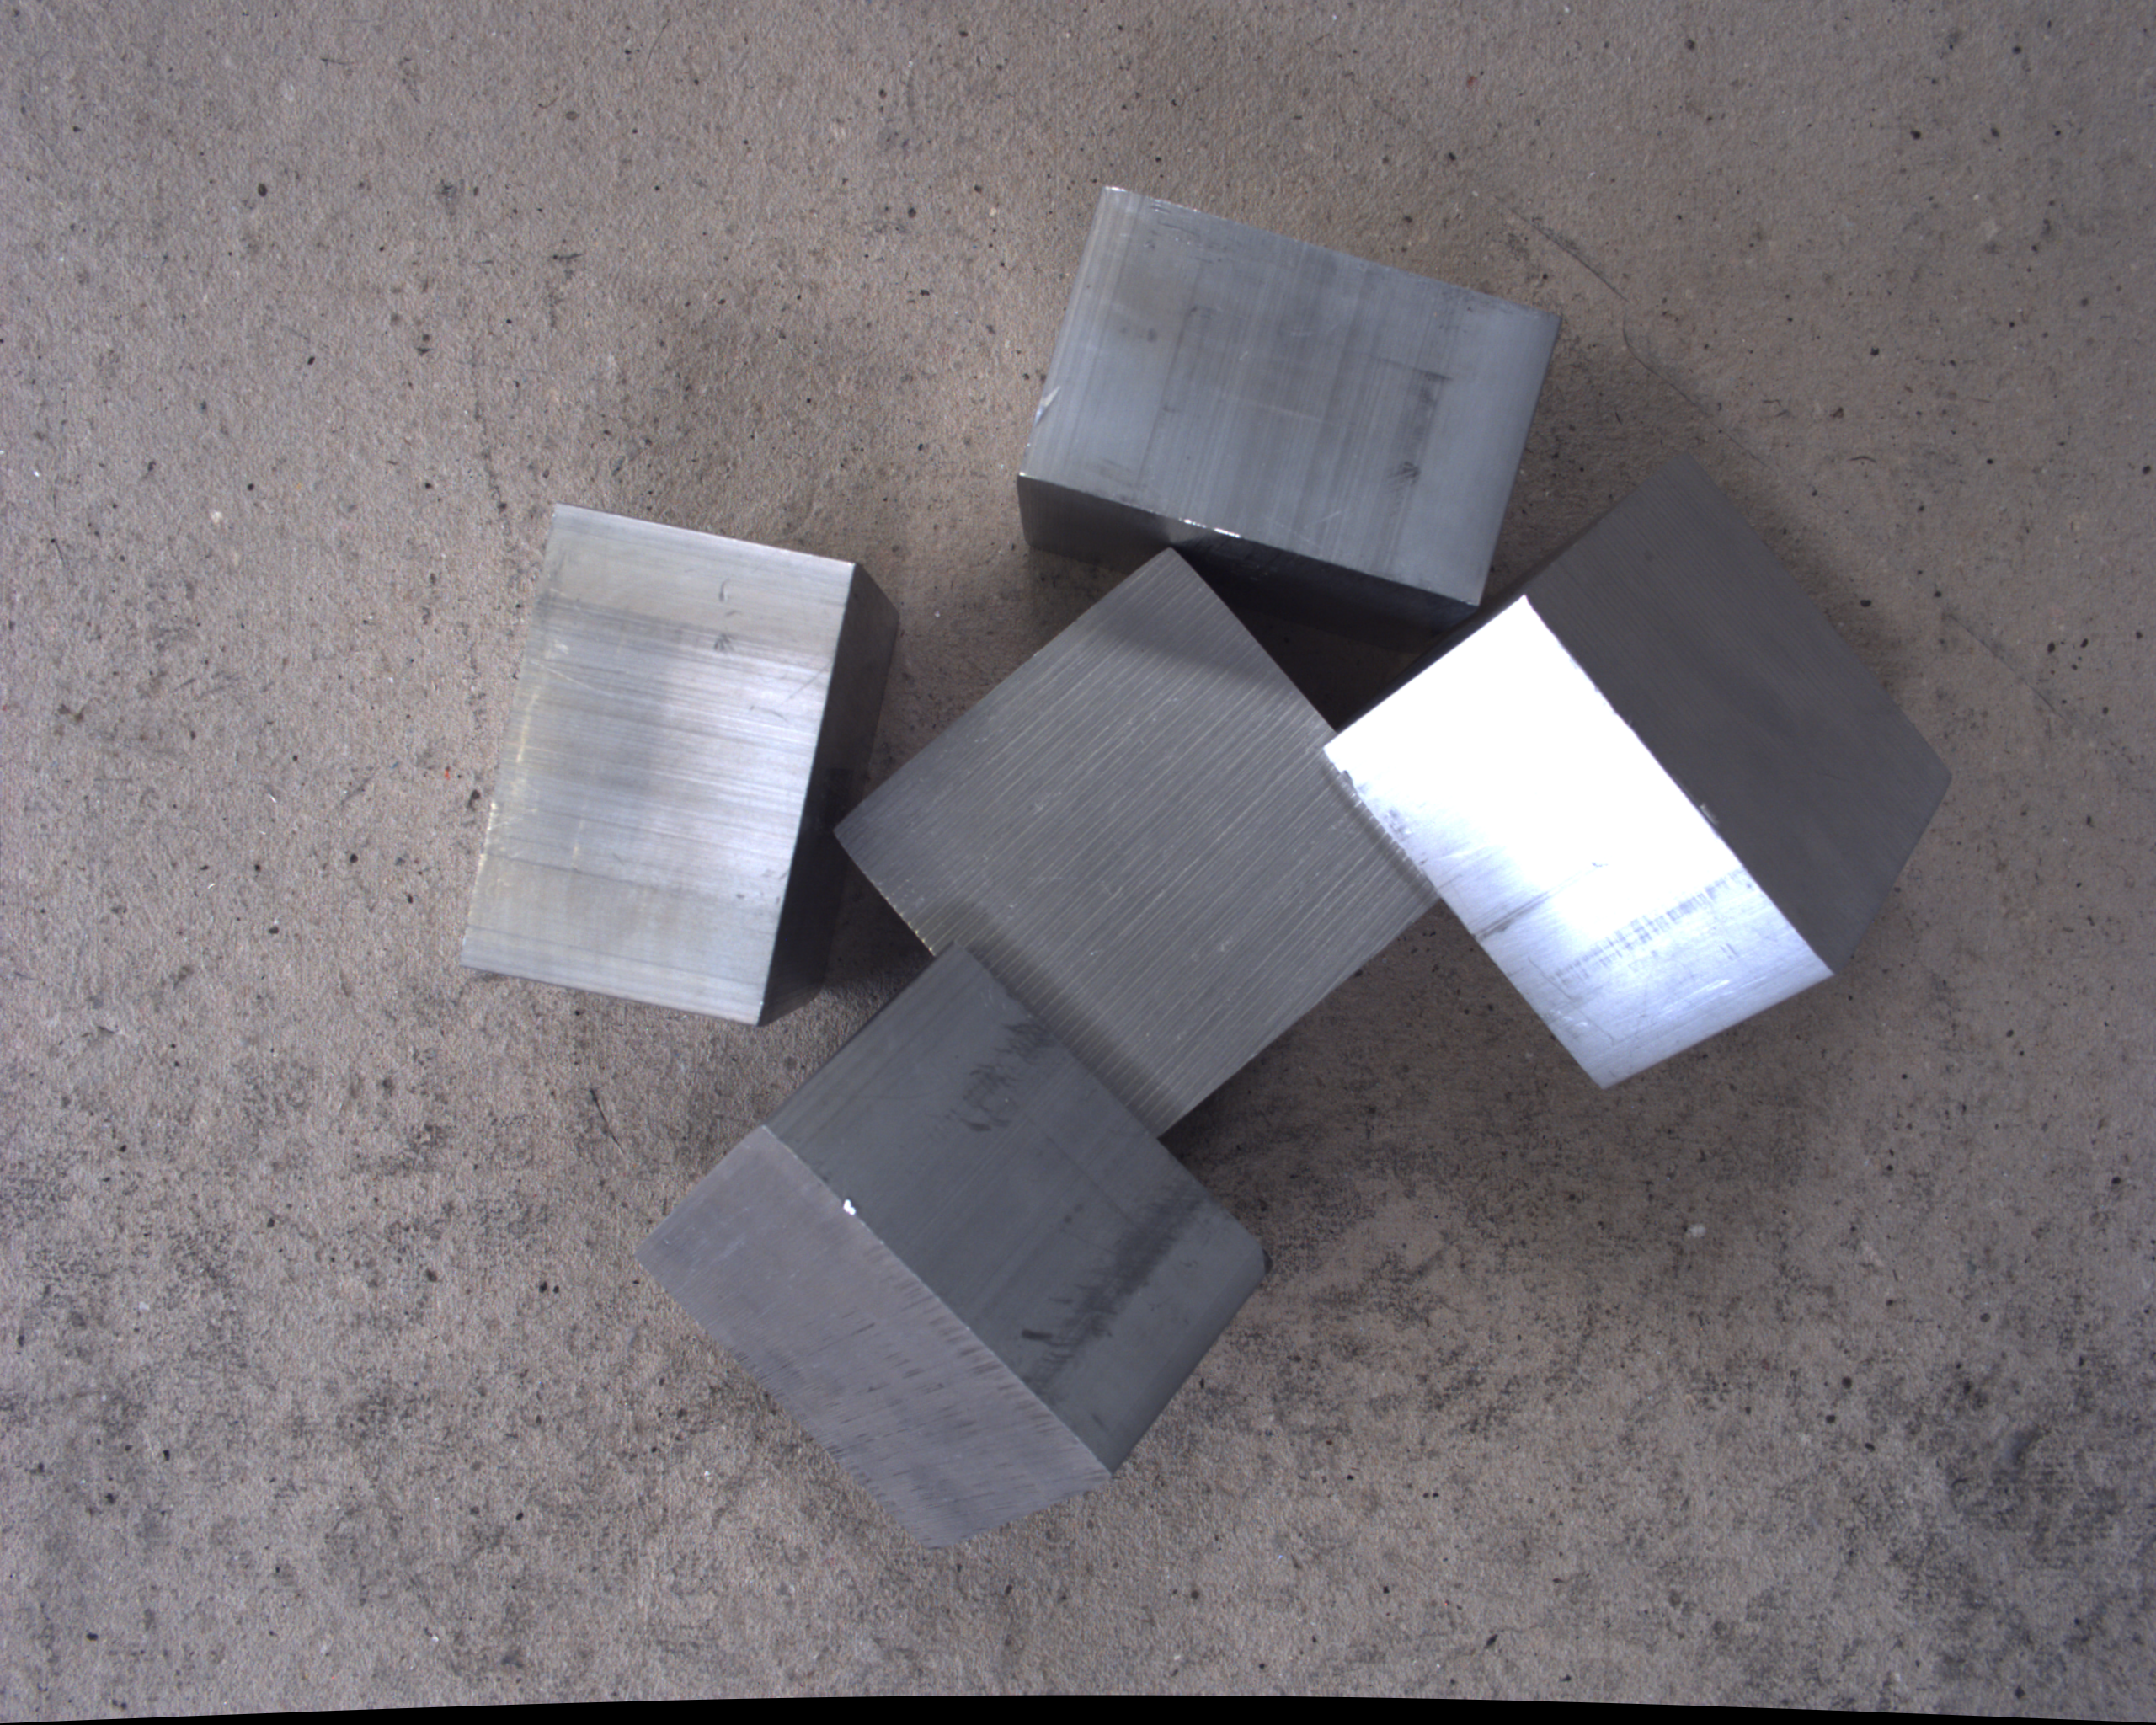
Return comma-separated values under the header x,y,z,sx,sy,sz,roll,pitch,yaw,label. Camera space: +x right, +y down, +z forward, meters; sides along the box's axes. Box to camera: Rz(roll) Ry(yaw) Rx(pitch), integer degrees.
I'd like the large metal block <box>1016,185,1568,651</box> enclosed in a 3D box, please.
x,y,z,sx,sy,sz,roll,pitch,yaw,label
0.035,-0.077,0.384,0.080,0.080,0.050,16,90,0,large metal block

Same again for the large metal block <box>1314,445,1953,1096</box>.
x,y,z,sx,sy,sz,roll,pitch,yaw,label
0.103,-0.019,0.378,0.080,0.080,0.050,51,134,0,large metal block

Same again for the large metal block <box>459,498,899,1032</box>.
x,y,z,sx,sy,sz,roll,pitch,yaw,label
-0.069,-0.017,0.384,0.050,0.080,0.080,12,91,0,large metal block

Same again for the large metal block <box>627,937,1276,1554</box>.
x,y,z,sx,sy,sz,roll,pitch,yaw,label
-0.025,0.072,0.377,0.080,0.080,0.050,45,53,0,large metal block

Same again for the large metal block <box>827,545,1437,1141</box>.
x,y,z,sx,sy,sz,roll,pitch,yaw,label
0.012,-0.002,0.397,0.080,0.050,0.080,-41,91,0,large metal block
